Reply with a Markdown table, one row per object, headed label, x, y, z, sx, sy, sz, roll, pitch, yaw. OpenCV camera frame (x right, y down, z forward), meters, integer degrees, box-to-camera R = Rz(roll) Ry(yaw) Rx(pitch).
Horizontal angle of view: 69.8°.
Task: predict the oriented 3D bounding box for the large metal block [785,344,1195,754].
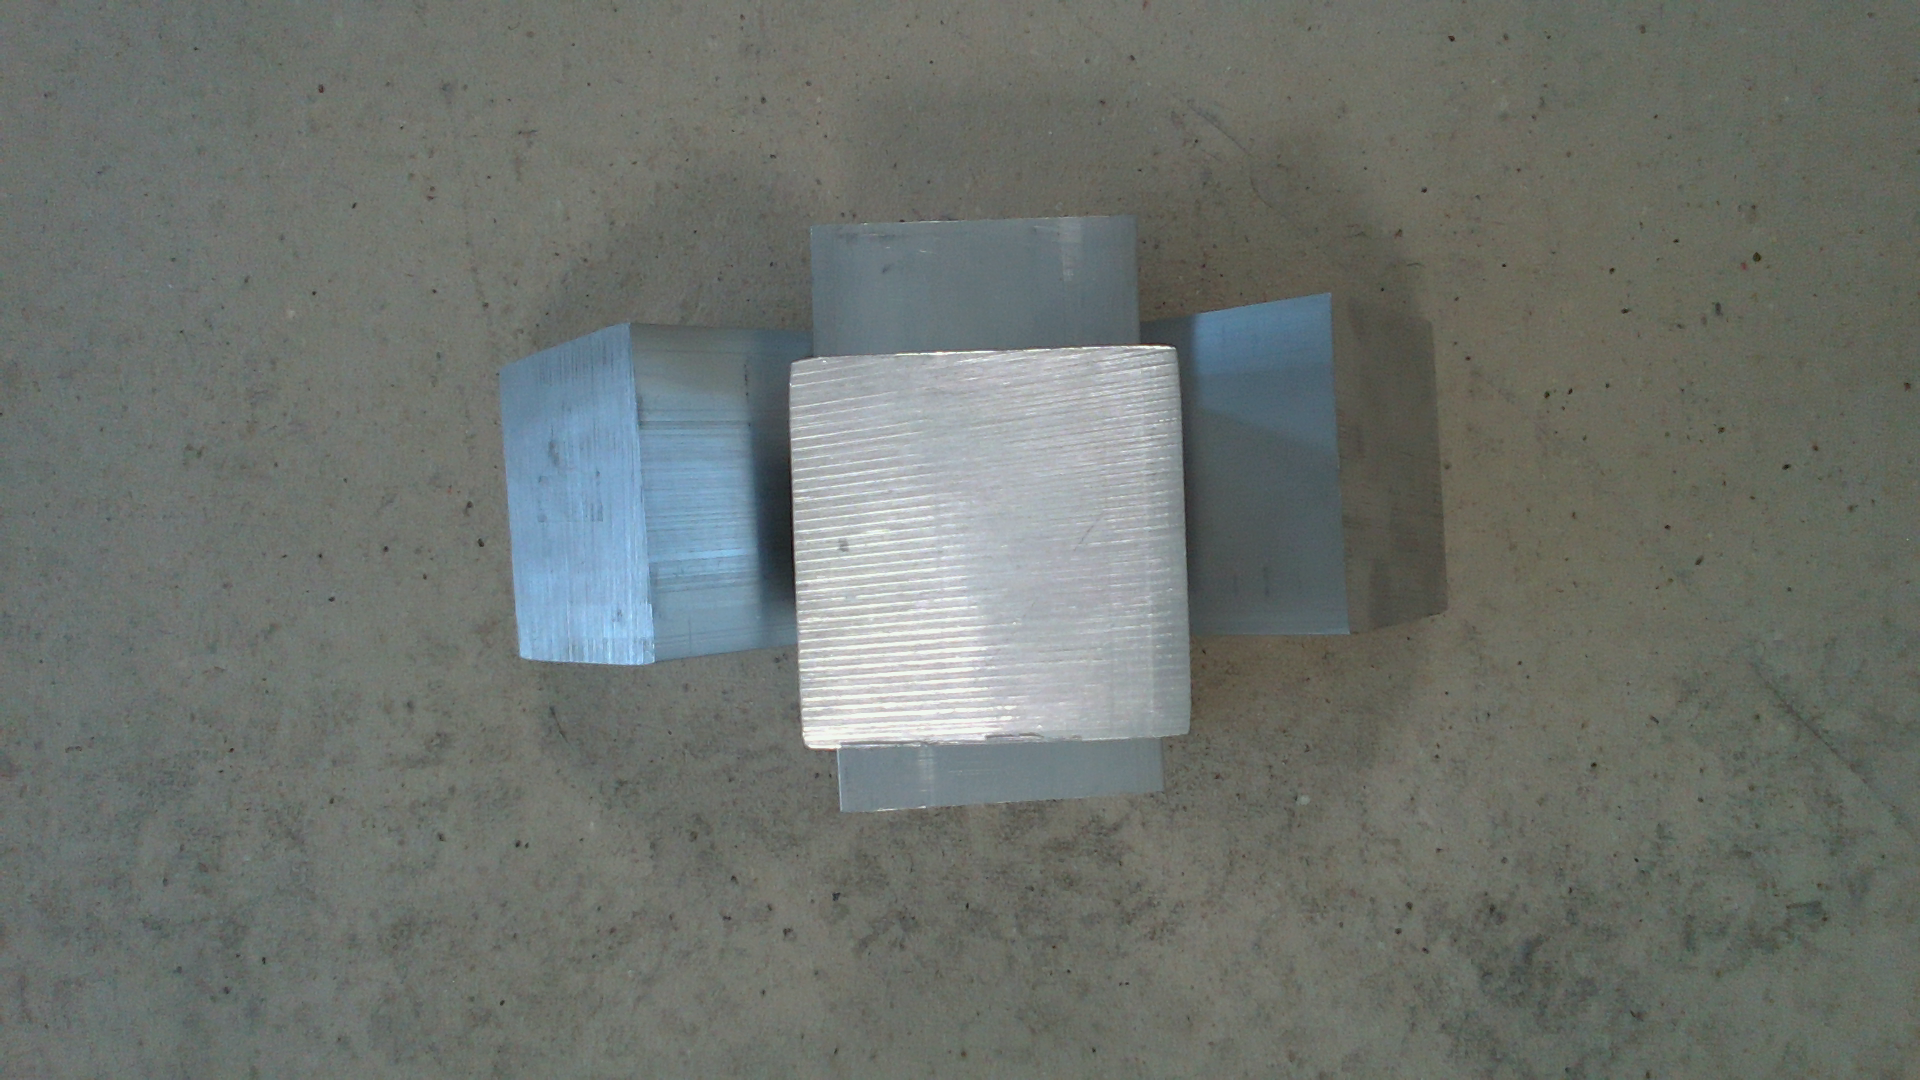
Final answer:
| label | x | y | z | sx | sy | sz | roll | pitch | yaw |
| --- | --- | --- | --- | --- | --- | --- | --- | --- | --- |
| large metal block | 0.006 | 0.002 | 0.303 | 0.080 | 0.050 | 0.080 | -2 | 90 | 0 |

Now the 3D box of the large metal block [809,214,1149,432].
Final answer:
| label | x | y | z | sx | sy | sz | roll | pitch | yaw |
| --- | --- | --- | --- | --- | --- | --- | --- | --- | --- |
| large metal block | 0.005 | -0.052 | 0.368 | 0.080 | 0.080 | 0.050 | -2 | 90 | 0 |

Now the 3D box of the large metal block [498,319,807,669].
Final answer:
| label | x | y | z | sx | sy | sz | roll | pitch | yaw |
| --- | --- | --- | --- | --- | --- | --- | --- | --- | --- |
| large metal block | -0.079 | -0.010 | 0.361 | 0.050 | 0.080 | 0.080 | -4 | 90 | -40 |

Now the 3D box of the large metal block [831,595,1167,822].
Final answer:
| label | x | y | z | sx | sy | sz | roll | pitch | yaw |
| --- | --- | --- | --- | --- | --- | --- | --- | --- | --- |
| large metal block | 0.009 | 0.040 | 0.370 | 0.080 | 0.080 | 0.050 | -4 | 90 | 0 |

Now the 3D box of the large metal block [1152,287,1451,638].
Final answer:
| label | x | y | z | sx | sy | sz | roll | pitch | yaw |
| --- | --- | --- | --- | --- | --- | --- | --- | --- | --- |
| large metal block | 0.090 | -0.018 | 0.360 | 0.050 | 0.080 | 0.080 | -3 | 90 | 35 |
